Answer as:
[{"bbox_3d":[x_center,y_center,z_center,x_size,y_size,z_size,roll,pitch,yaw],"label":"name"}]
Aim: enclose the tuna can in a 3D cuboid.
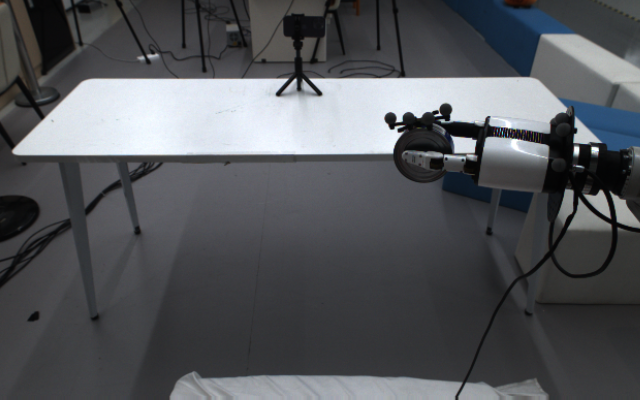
[{"bbox_3d":[0.155,-0.071,0.717,0.085,0.085,0.034,13,29,15],"label":"tuna can"}]
